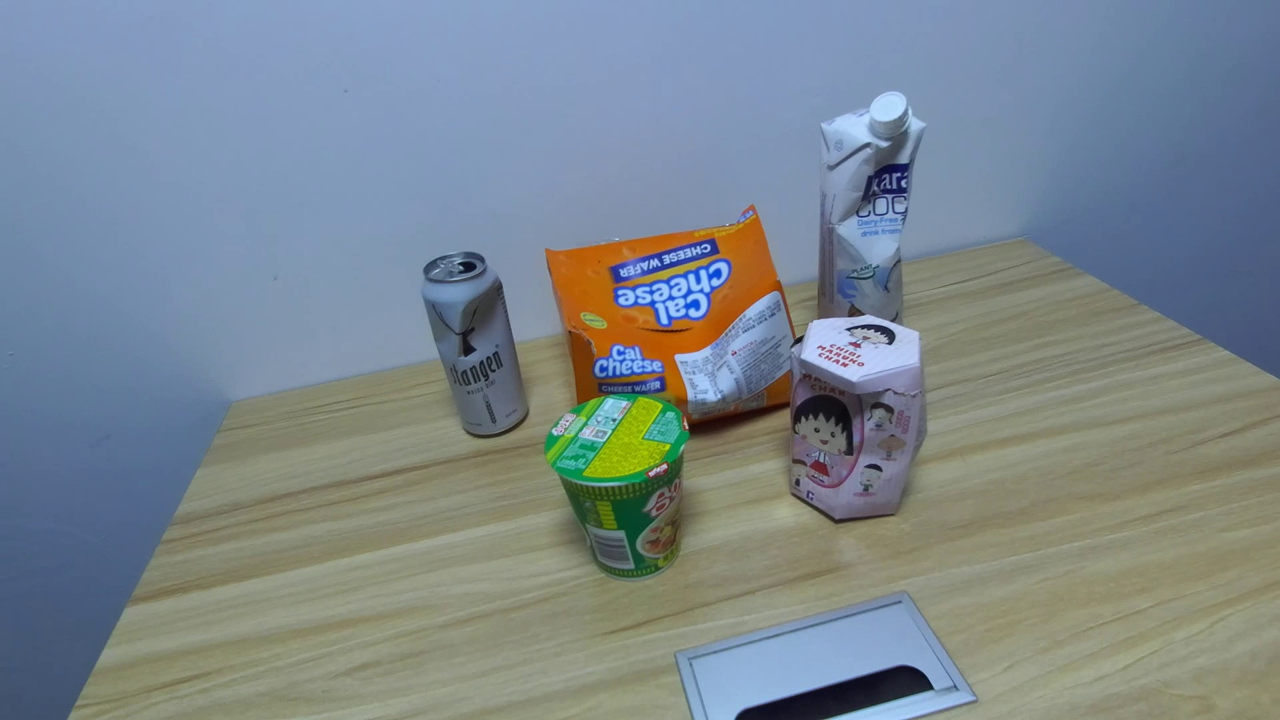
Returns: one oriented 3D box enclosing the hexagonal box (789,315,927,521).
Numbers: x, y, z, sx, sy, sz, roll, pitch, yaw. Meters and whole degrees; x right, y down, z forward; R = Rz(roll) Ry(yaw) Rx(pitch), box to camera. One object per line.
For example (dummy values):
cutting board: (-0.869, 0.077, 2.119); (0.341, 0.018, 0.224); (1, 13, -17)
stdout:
hexagonal box: (0.159, 0.042, 0.528); (0.090, 0.135, 0.091); (-4, 32, 2)

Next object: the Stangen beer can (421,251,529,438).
Stangen beer can: (-0.150, -0.012, 0.650); (0.070, 0.173, 0.069); (-11, 31, -5)

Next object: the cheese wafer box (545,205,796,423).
cheese wafer box: (0.036, -0.030, 0.658); (0.219, 0.145, 0.190); (-12, 32, -6)

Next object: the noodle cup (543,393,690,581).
noodle cup: (-0.010, 0.096, 0.501); (0.097, 0.110, 0.097); (-5, 32, 4)

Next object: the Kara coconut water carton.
Kara coconut water carton: (0.206, -0.116, 0.652); (0.083, 0.256, 0.078); (-12, 34, -6)
